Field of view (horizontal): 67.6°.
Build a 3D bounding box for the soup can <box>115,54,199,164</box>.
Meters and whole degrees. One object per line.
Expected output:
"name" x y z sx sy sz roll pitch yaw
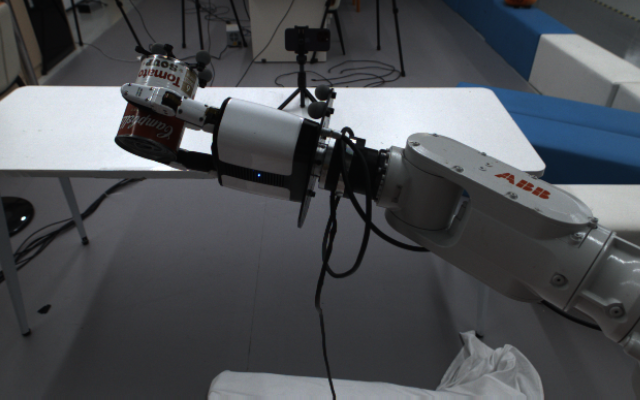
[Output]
"soup can" -0.182 -0.102 0.549 0.067 0.067 0.101 8 73 9
